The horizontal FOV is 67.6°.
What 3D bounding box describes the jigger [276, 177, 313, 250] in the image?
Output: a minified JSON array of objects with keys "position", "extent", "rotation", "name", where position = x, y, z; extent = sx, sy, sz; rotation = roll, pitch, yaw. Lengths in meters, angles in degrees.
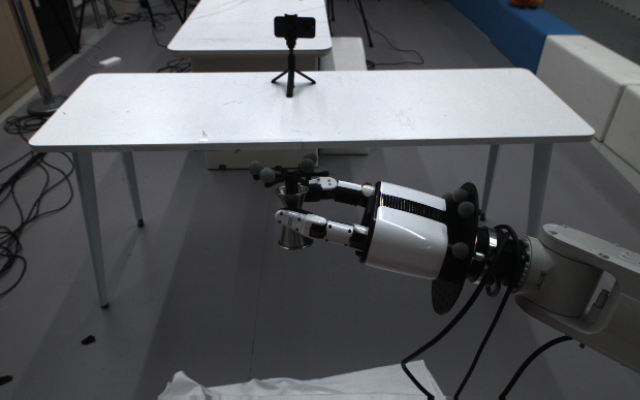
[{"position":[-0.031,0.020,0.577],"extent":[0.043,0.071,0.043],"rotation":[-2,19,1],"name":"jigger"}]
